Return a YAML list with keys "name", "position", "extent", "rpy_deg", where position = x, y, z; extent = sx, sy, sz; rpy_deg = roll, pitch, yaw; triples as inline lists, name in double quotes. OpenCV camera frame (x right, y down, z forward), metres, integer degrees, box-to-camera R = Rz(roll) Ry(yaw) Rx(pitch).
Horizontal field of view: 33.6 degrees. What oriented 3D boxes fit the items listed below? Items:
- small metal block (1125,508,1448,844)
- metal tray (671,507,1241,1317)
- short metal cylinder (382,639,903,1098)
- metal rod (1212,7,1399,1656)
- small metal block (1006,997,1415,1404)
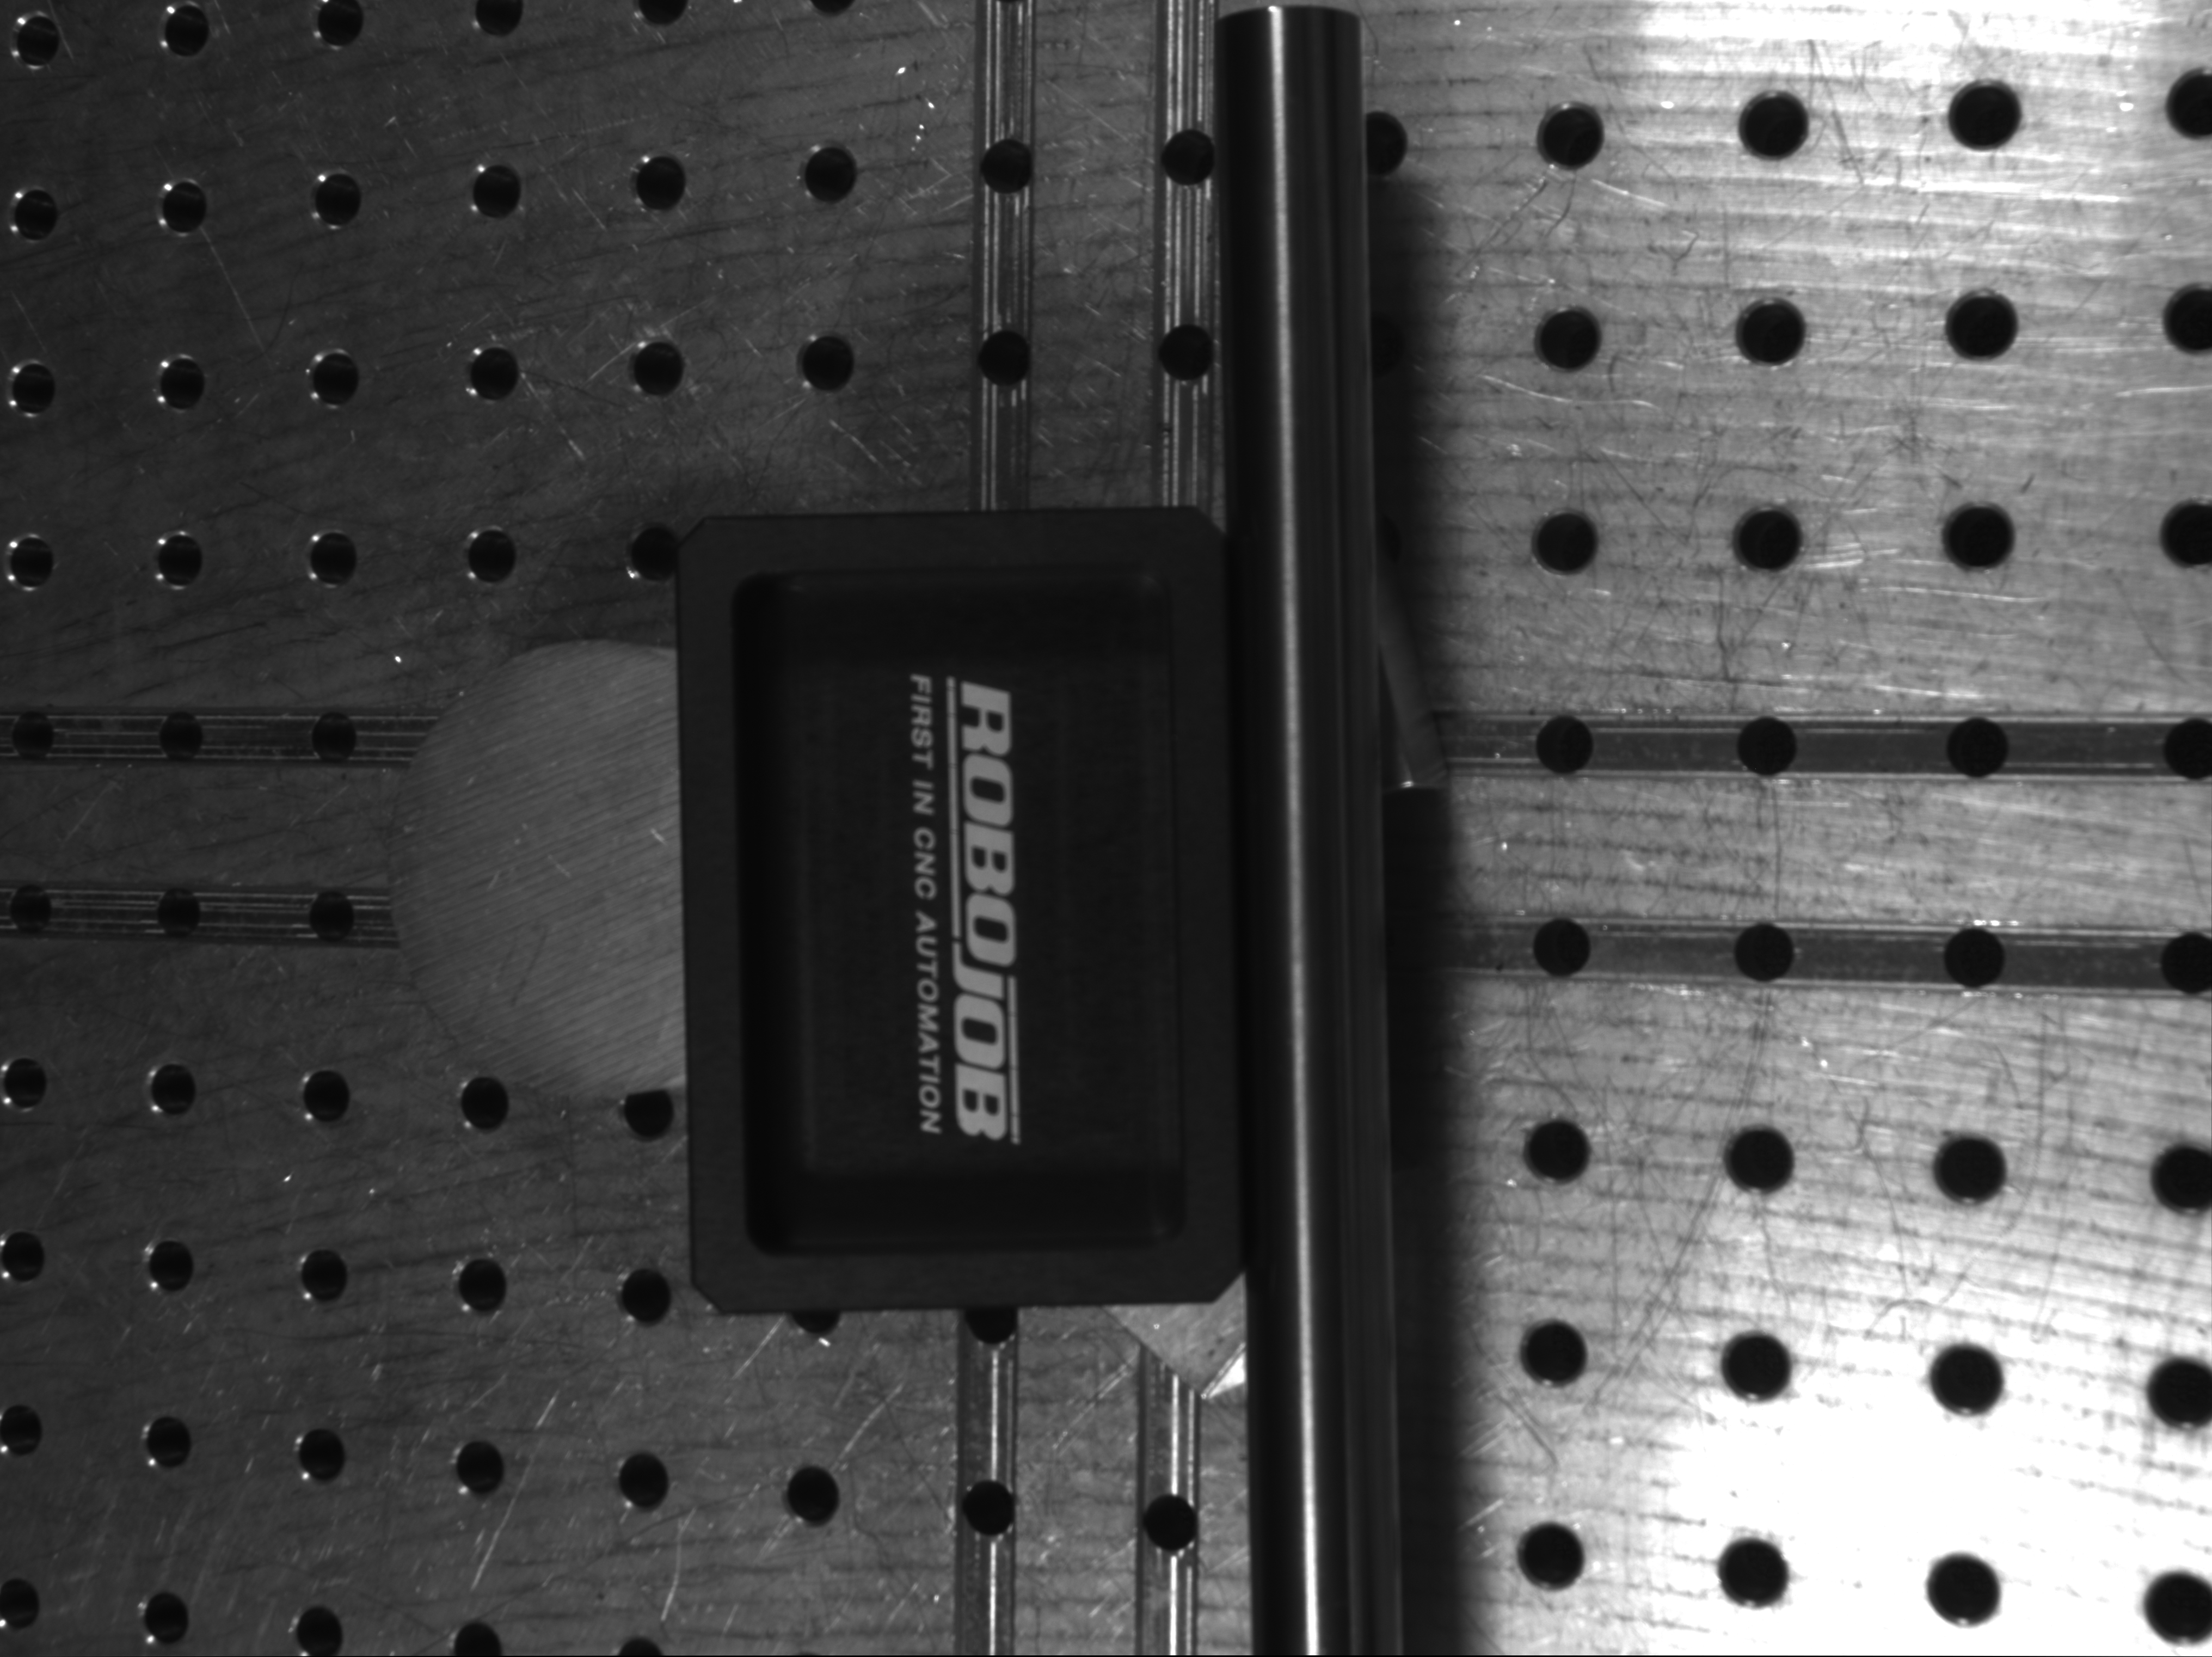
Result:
- name: "small metal block"
  position: [0.027, -0.025, 0.638]
  extent: [0.050, 0.025, 0.050]
  rpy_deg: [-16, 85, 19]
- name: "metal tray"
  position: [-0.024, 0.014, 0.610]
  extent: [0.090, 0.030, 0.130]
  rpy_deg: [-1, 90, 0]
- name: "short metal cylinder"
  position: [-0.083, 0.007, 0.662]
  extent: [0.080, 0.050, 0.080]
  rpy_deg: [0, 90, 20]
- name: "metal rod"
  position: [0.033, 0.016, 0.608]
  extent: [0.025, 0.025, 0.300]
  rpy_deg: [-1, 89, 20]
- name: "small metal block"
  position: [0.017, 0.063, 0.640]
  extent: [0.050, 0.025, 0.050]
  rpy_deg: [41, 103, 15]
